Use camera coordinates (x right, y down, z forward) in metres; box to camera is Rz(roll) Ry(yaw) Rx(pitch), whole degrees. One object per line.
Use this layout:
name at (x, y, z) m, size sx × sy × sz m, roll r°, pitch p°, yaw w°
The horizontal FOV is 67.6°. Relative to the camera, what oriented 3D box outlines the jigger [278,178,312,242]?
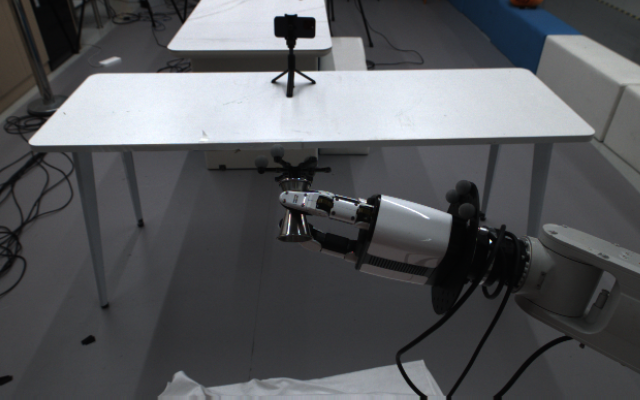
jigger at (-0.029, 0.011, 0.570) m, size 0.043 × 0.043 × 0.071 m, roll 0°, pitch 75°, yaw -3°
